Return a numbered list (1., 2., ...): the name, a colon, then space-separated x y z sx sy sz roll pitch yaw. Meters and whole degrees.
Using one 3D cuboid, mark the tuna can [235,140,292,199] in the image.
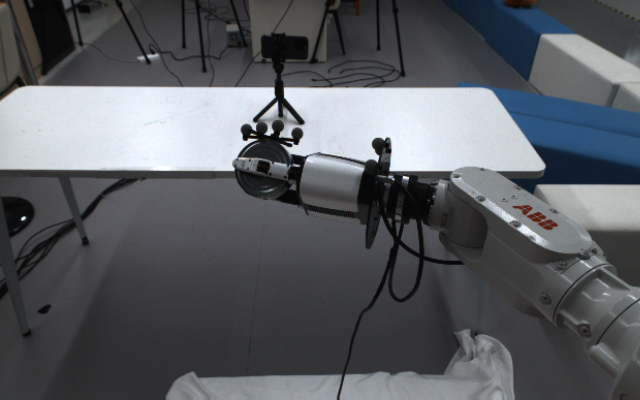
1. tuna can: -0.080 -0.045 0.715 0.085 0.085 0.034 11 -6 13
